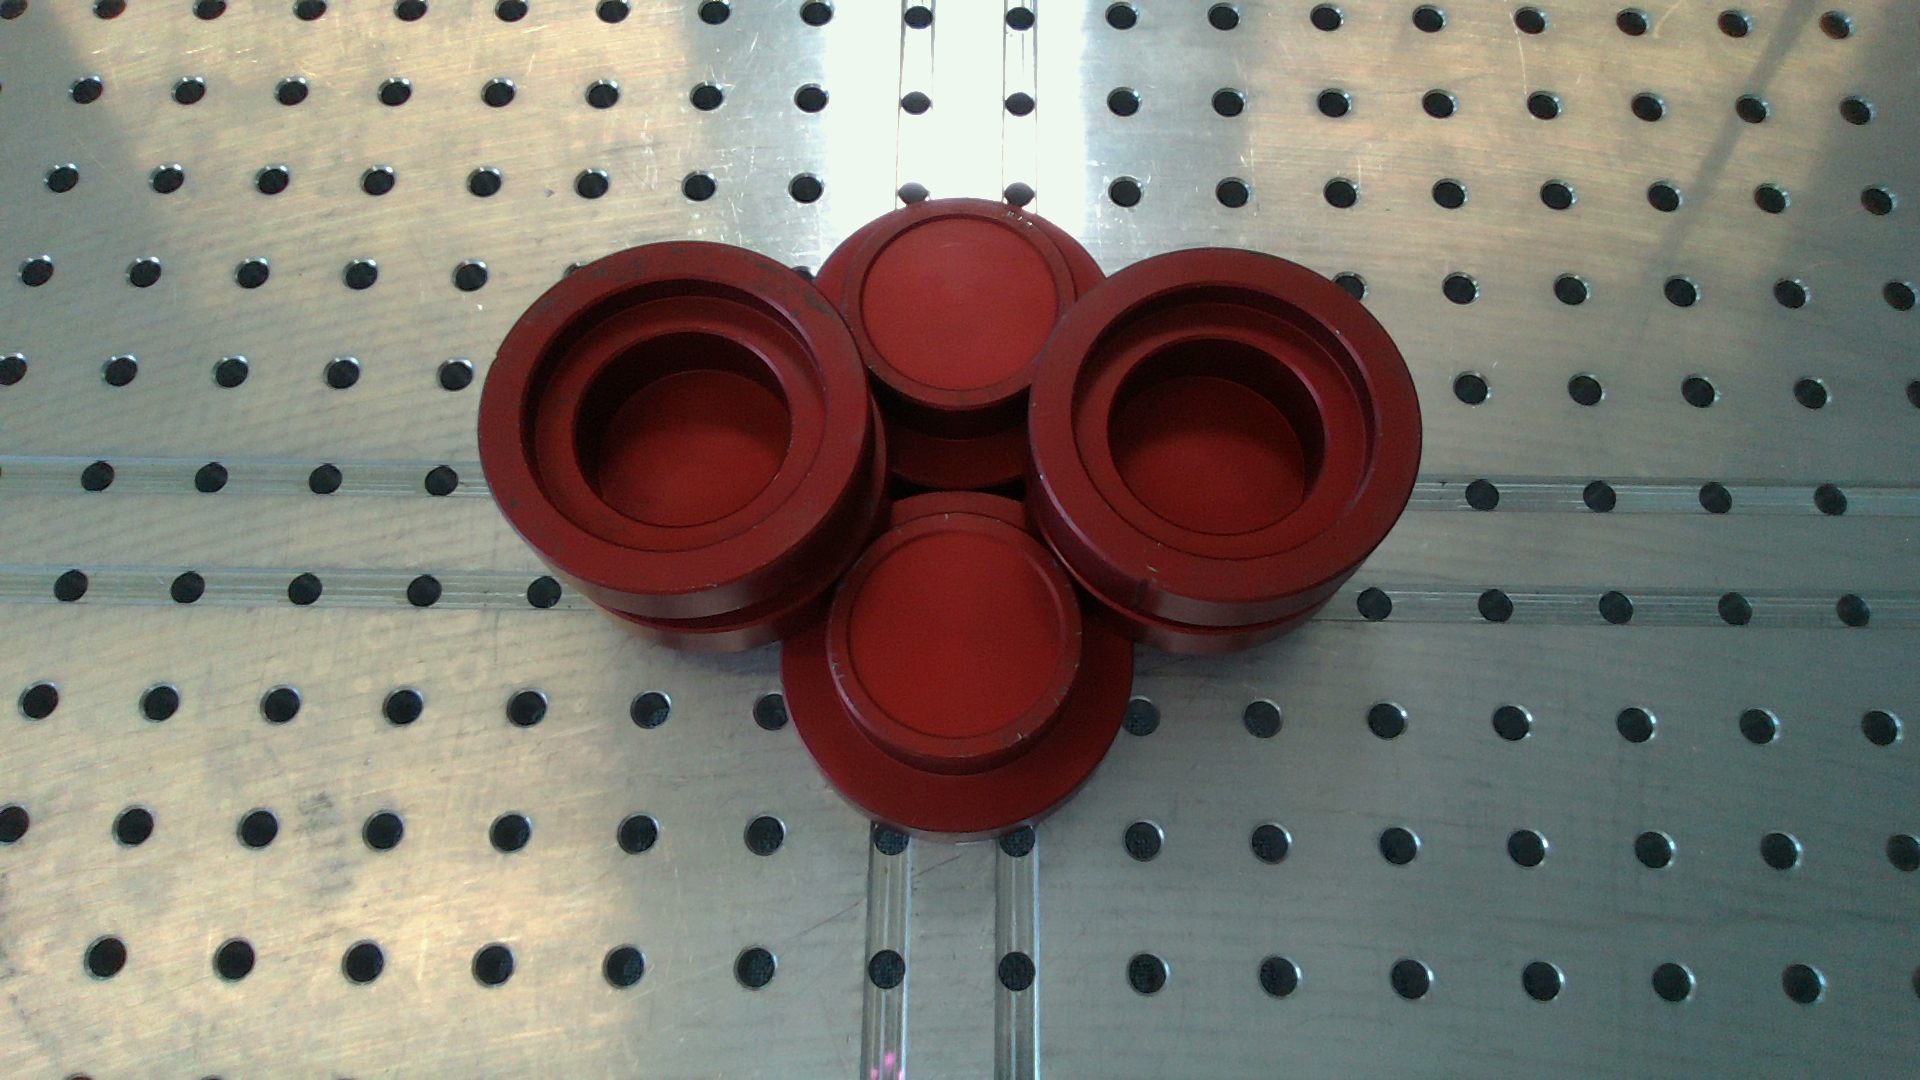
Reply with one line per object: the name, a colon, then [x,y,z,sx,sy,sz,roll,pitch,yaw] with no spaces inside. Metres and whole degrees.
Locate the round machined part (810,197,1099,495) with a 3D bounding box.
round machined part: [-0.001,-0.062,0.410,0.098,0.042,0.098,0,70,0]

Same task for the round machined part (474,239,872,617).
round machined part: [-0.072,-0.026,0.363,0.098,0.042,0.098,0,70,0]

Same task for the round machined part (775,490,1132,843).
round machined part: [-0.002,0.031,0.376,0.098,0.042,0.098,0,70,0]

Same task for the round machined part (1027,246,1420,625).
round machined part: [0.066,-0.024,0.362,0.098,0.042,0.098,0,70,0]

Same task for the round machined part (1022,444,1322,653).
round machined part: [0.066,-0.014,0.393,0.098,0.042,0.098,0,70,0]

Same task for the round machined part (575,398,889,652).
round machined part: [-0.069,-0.015,0.393,0.098,0.042,0.098,0,70,0]
